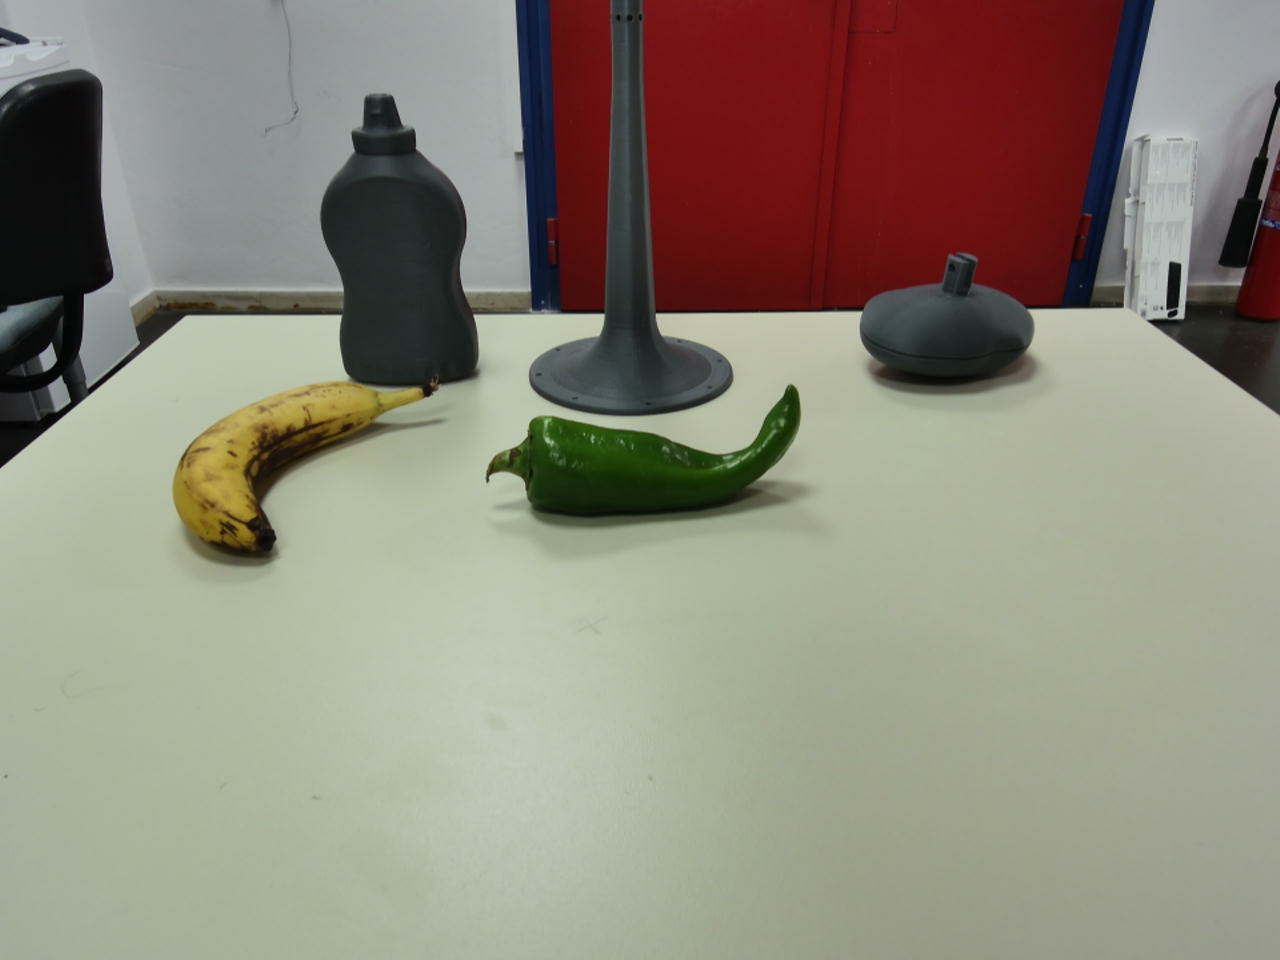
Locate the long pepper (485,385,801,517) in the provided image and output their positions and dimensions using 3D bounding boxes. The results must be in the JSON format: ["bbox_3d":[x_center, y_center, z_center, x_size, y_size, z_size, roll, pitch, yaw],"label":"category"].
[{"bbox_3d":[0.003,-0.017,0.549,0.175,0.065,0.058,-1,26,-2],"label":"long pepper"}]
